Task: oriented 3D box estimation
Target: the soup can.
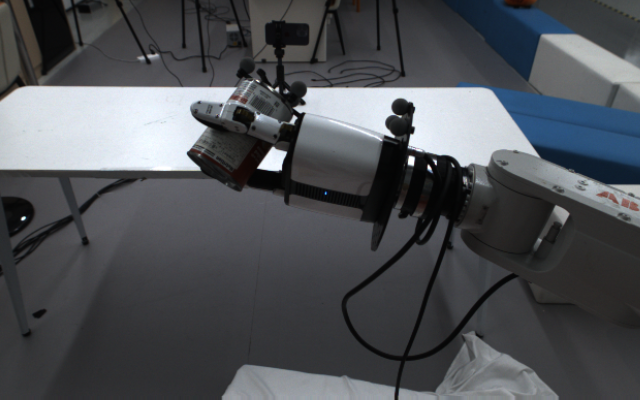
[{"bbox_3d":[-0.083,-0.070,0.515,0.067,0.067,0.101,27,76,31],"label":"soup can"}]
